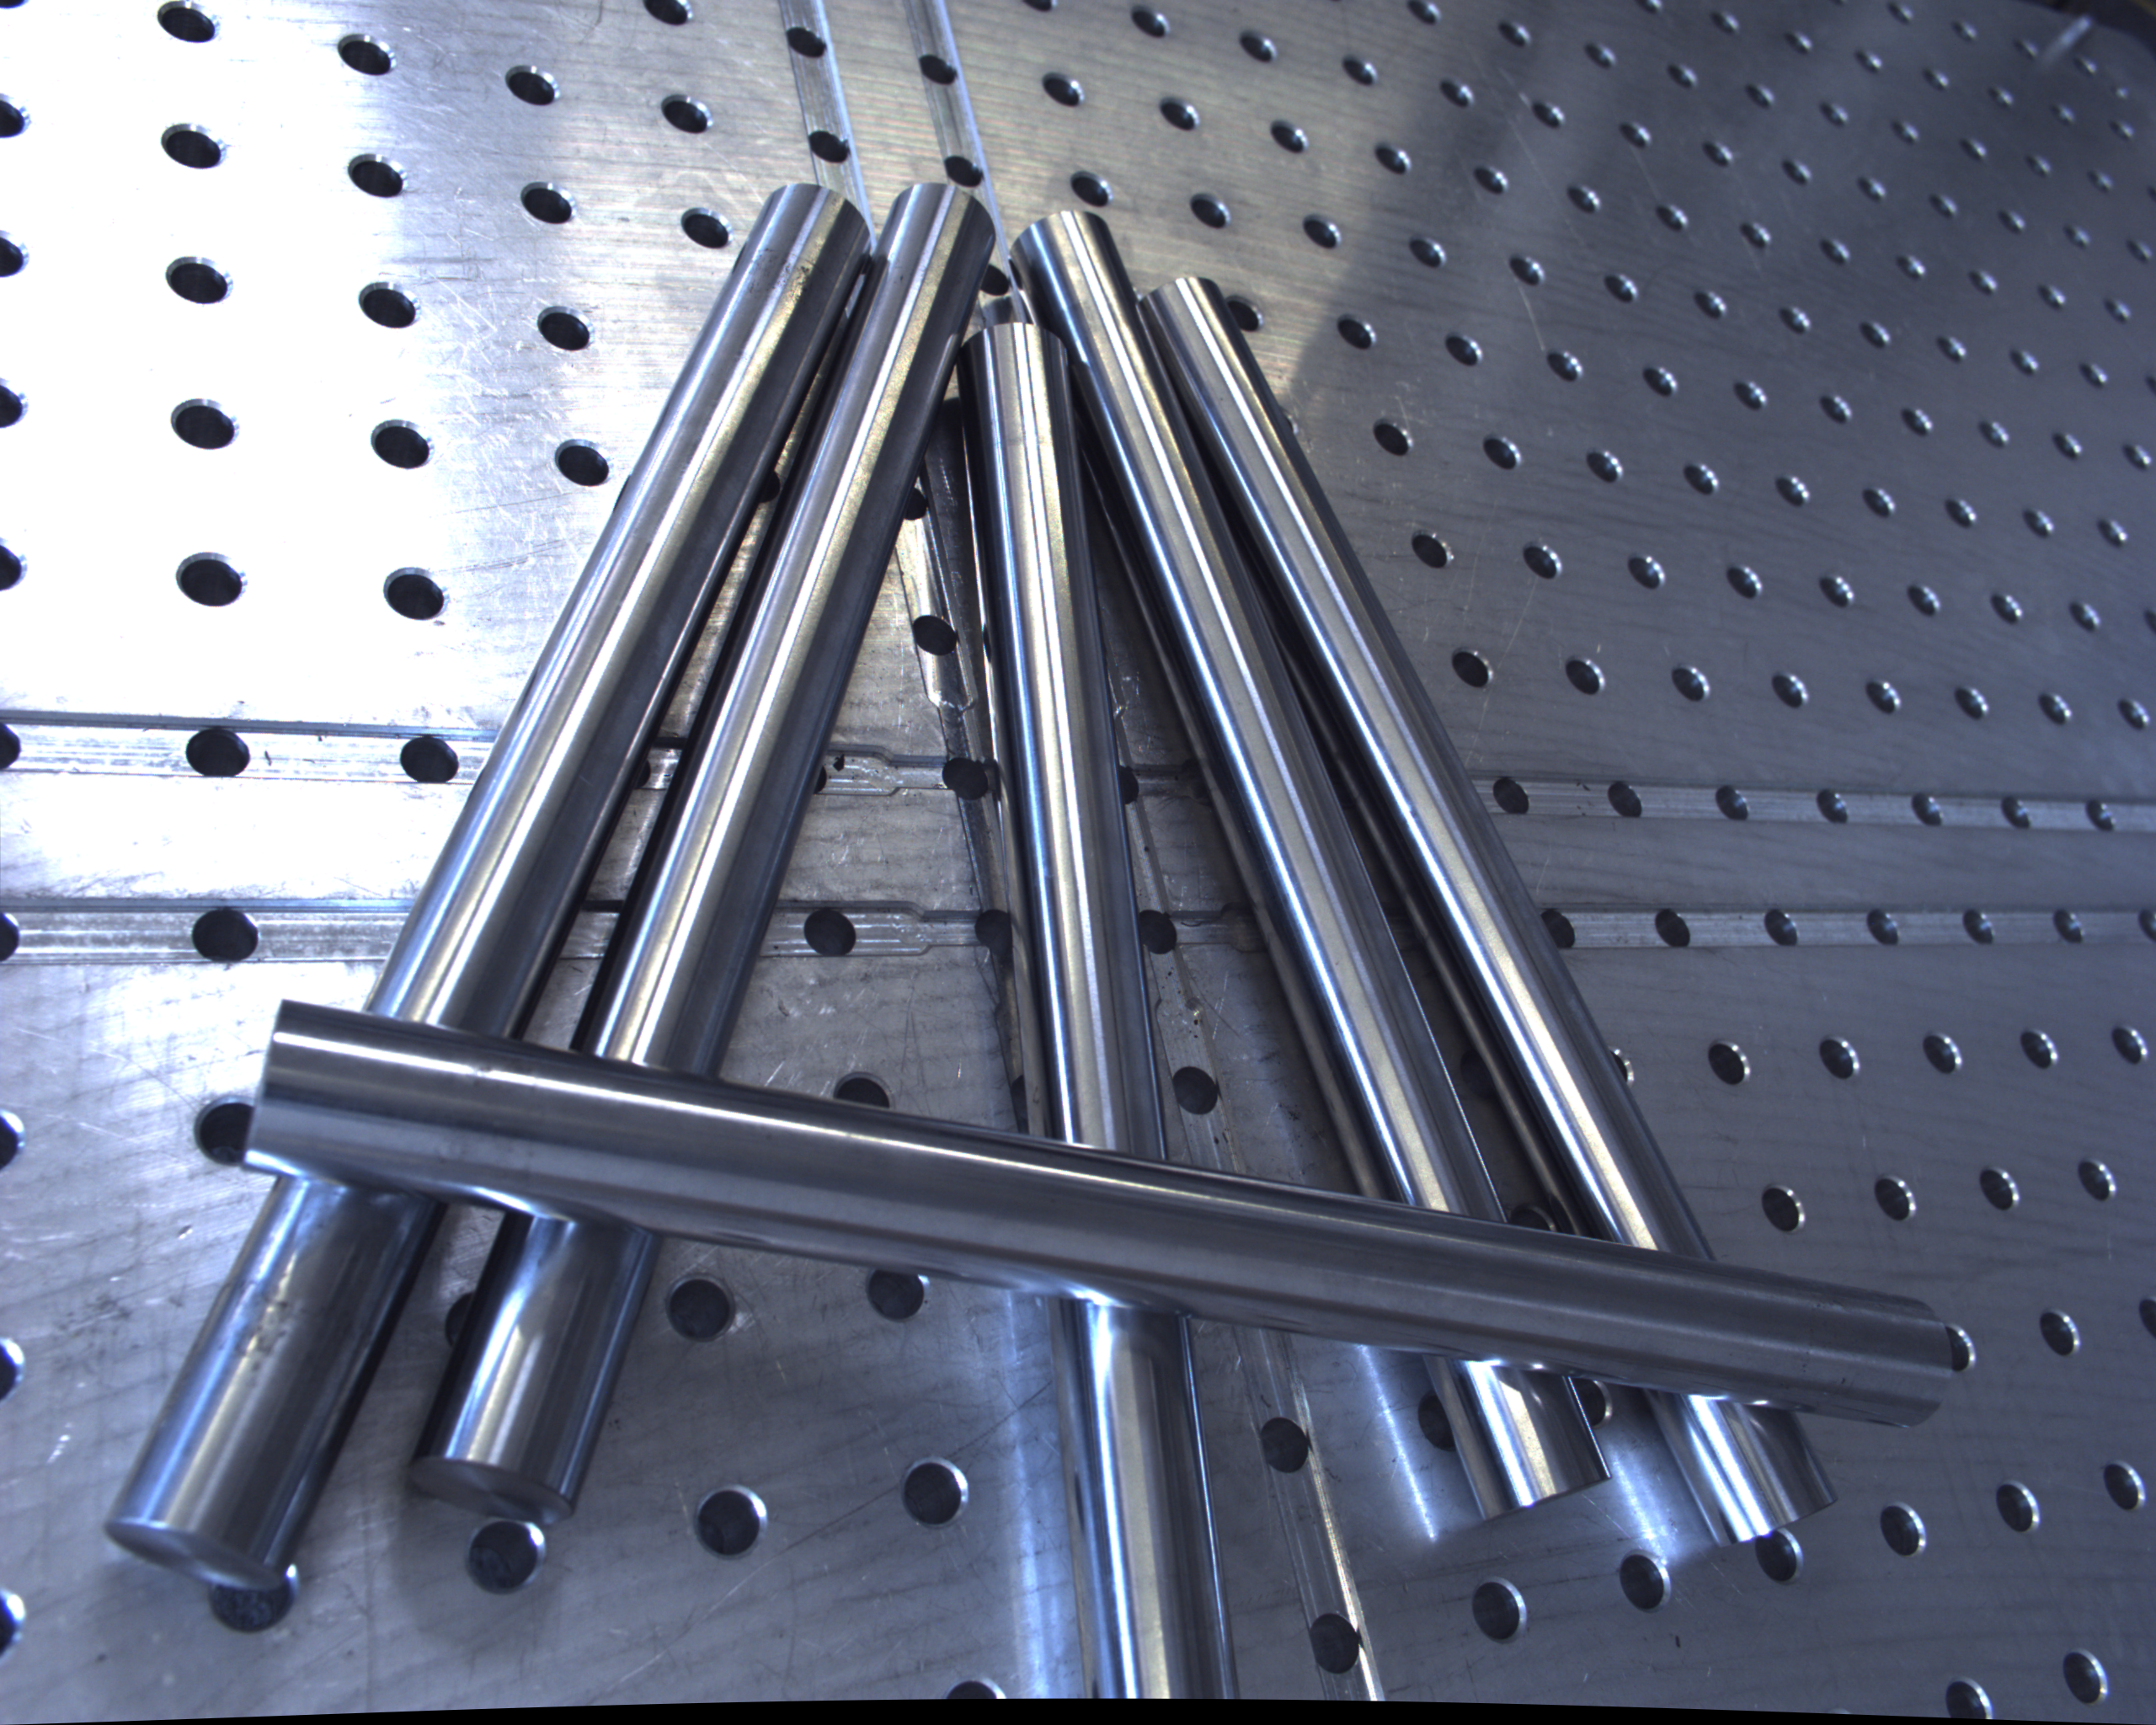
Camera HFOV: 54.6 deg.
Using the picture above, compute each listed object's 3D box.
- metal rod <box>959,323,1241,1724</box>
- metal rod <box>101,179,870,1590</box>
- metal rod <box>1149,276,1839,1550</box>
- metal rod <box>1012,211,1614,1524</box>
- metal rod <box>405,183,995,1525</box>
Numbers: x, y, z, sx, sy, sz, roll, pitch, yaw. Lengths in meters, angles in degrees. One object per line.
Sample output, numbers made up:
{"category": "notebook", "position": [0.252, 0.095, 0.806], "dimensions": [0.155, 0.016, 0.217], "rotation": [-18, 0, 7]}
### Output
{"category": "metal rod", "position": [0.000, 0.018, 0.397], "dimensions": [0.025, 0.025, 0.299], "rotation": [8, 58, -24]}
{"category": "metal rod", "position": [-0.089, -0.023, 0.373], "dimensions": [0.025, 0.025, 0.300], "rotation": [25, 53, -13]}
{"category": "metal rod", "position": [0.079, -0.002, 0.451], "dimensions": [0.025, 0.025, 0.299], "rotation": [-10, 67, -32]}
{"category": "metal rod", "position": [0.041, -0.014, 0.438], "dimensions": [0.025, 0.025, 0.299], "rotation": [-5, 64, -30]}
{"category": "metal rod", "position": [-0.059, -0.027, 0.393], "dimensions": [0.025, 0.025, 0.300], "rotation": [23, 53, -14]}
